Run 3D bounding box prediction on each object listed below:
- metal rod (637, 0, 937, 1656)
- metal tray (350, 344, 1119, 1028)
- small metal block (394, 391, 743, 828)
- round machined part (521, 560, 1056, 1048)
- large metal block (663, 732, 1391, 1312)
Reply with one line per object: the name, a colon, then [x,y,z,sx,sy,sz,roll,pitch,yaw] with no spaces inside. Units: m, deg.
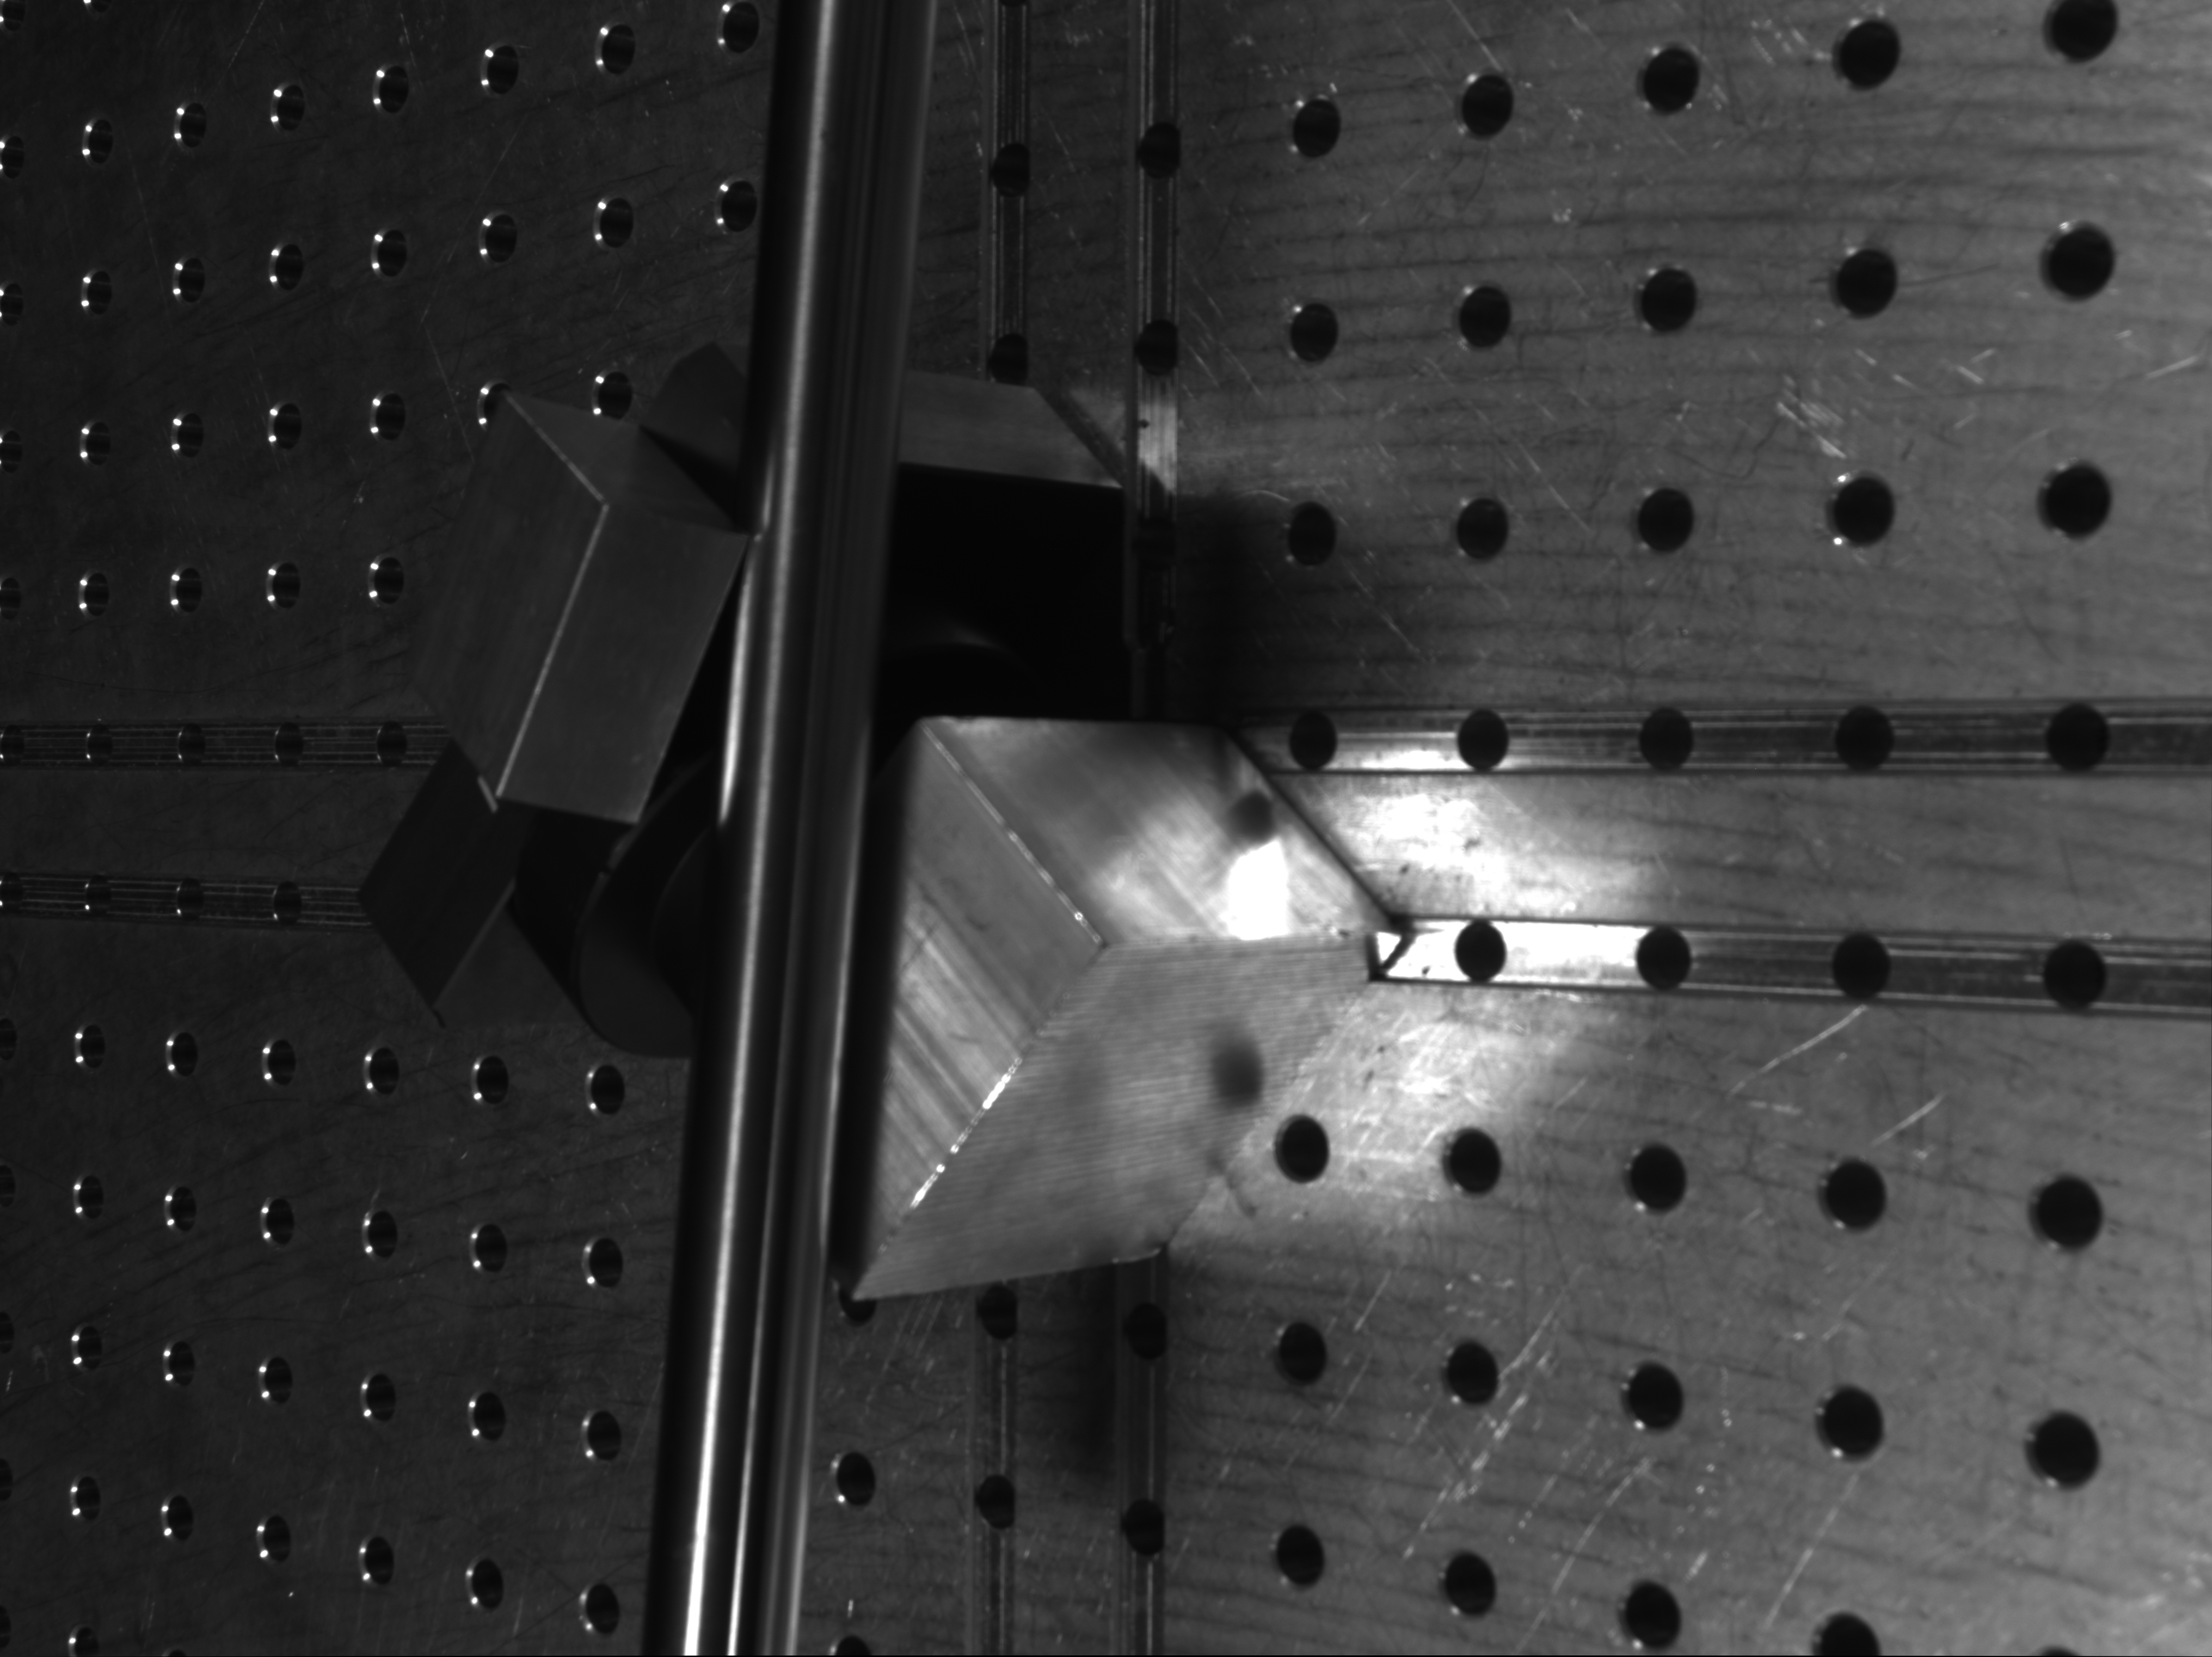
metal rod: [-0.052,0.015,0.578,0.025,0.025,0.300,9,95,39]
metal tray: [-0.066,-0.022,0.651,0.030,0.090,0.130,50,119,28]
small metal block: [-0.087,-0.035,0.584,0.050,0.025,0.050,45,116,52]
round machined part: [-0.049,0.004,0.637,0.042,0.098,0.098,49,119,28]
large metal block: [-0.013,0.031,0.610,0.050,0.080,0.080,50,119,28]
